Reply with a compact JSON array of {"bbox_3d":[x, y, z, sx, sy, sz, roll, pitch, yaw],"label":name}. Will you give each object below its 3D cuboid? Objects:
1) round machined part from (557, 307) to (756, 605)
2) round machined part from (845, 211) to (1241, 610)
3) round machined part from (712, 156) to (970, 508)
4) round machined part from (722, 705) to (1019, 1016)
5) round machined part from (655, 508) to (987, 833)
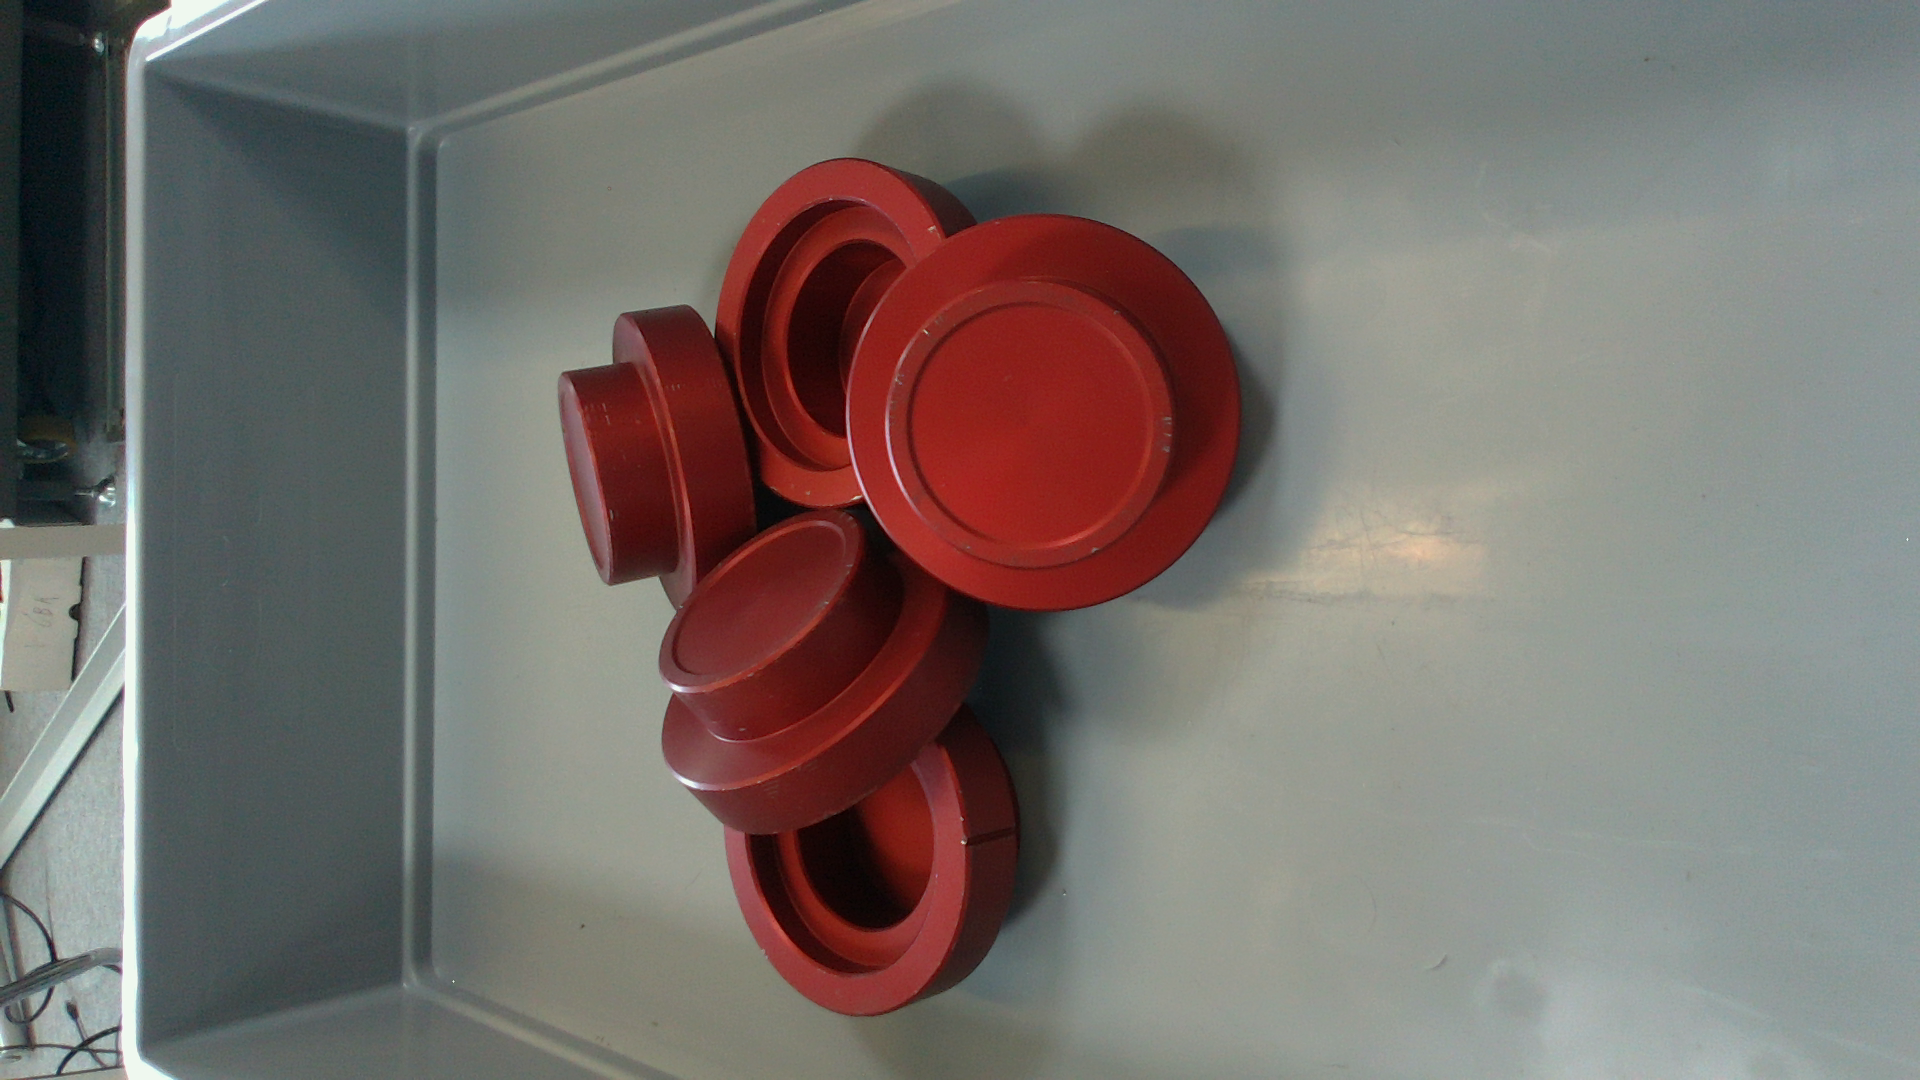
[{"bbox_3d":[-0.100,-0.023,0.437,0.098,0.042,0.098,168,90,-69],"label":"round machined part"},{"bbox_3d":[0.019,-0.030,0.337,0.098,0.042,0.098,2,101,9],"label":"round machined part"},{"bbox_3d":[-0.025,-0.058,0.402,0.098,0.042,0.098,0,90,40],"label":"round machined part"},{"bbox_3d":[-0.022,0.083,0.400,0.098,0.042,0.098,0,90,40],"label":"round machined part"},{"bbox_3d":[-0.045,0.029,0.382,0.098,0.098,0.042,-8,129,40],"label":"round machined part"}]
